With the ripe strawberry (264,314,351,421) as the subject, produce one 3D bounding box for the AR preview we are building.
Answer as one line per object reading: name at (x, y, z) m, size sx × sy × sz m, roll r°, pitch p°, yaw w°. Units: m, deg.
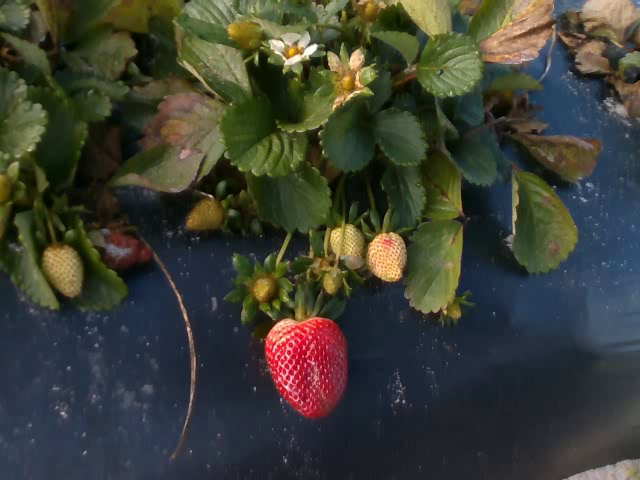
ripe strawberry at (-0.007, 0.077, 0.389) m, size 0.052 × 0.068 × 0.045 m, roll -1°, pitch -41°, yaw -20°
